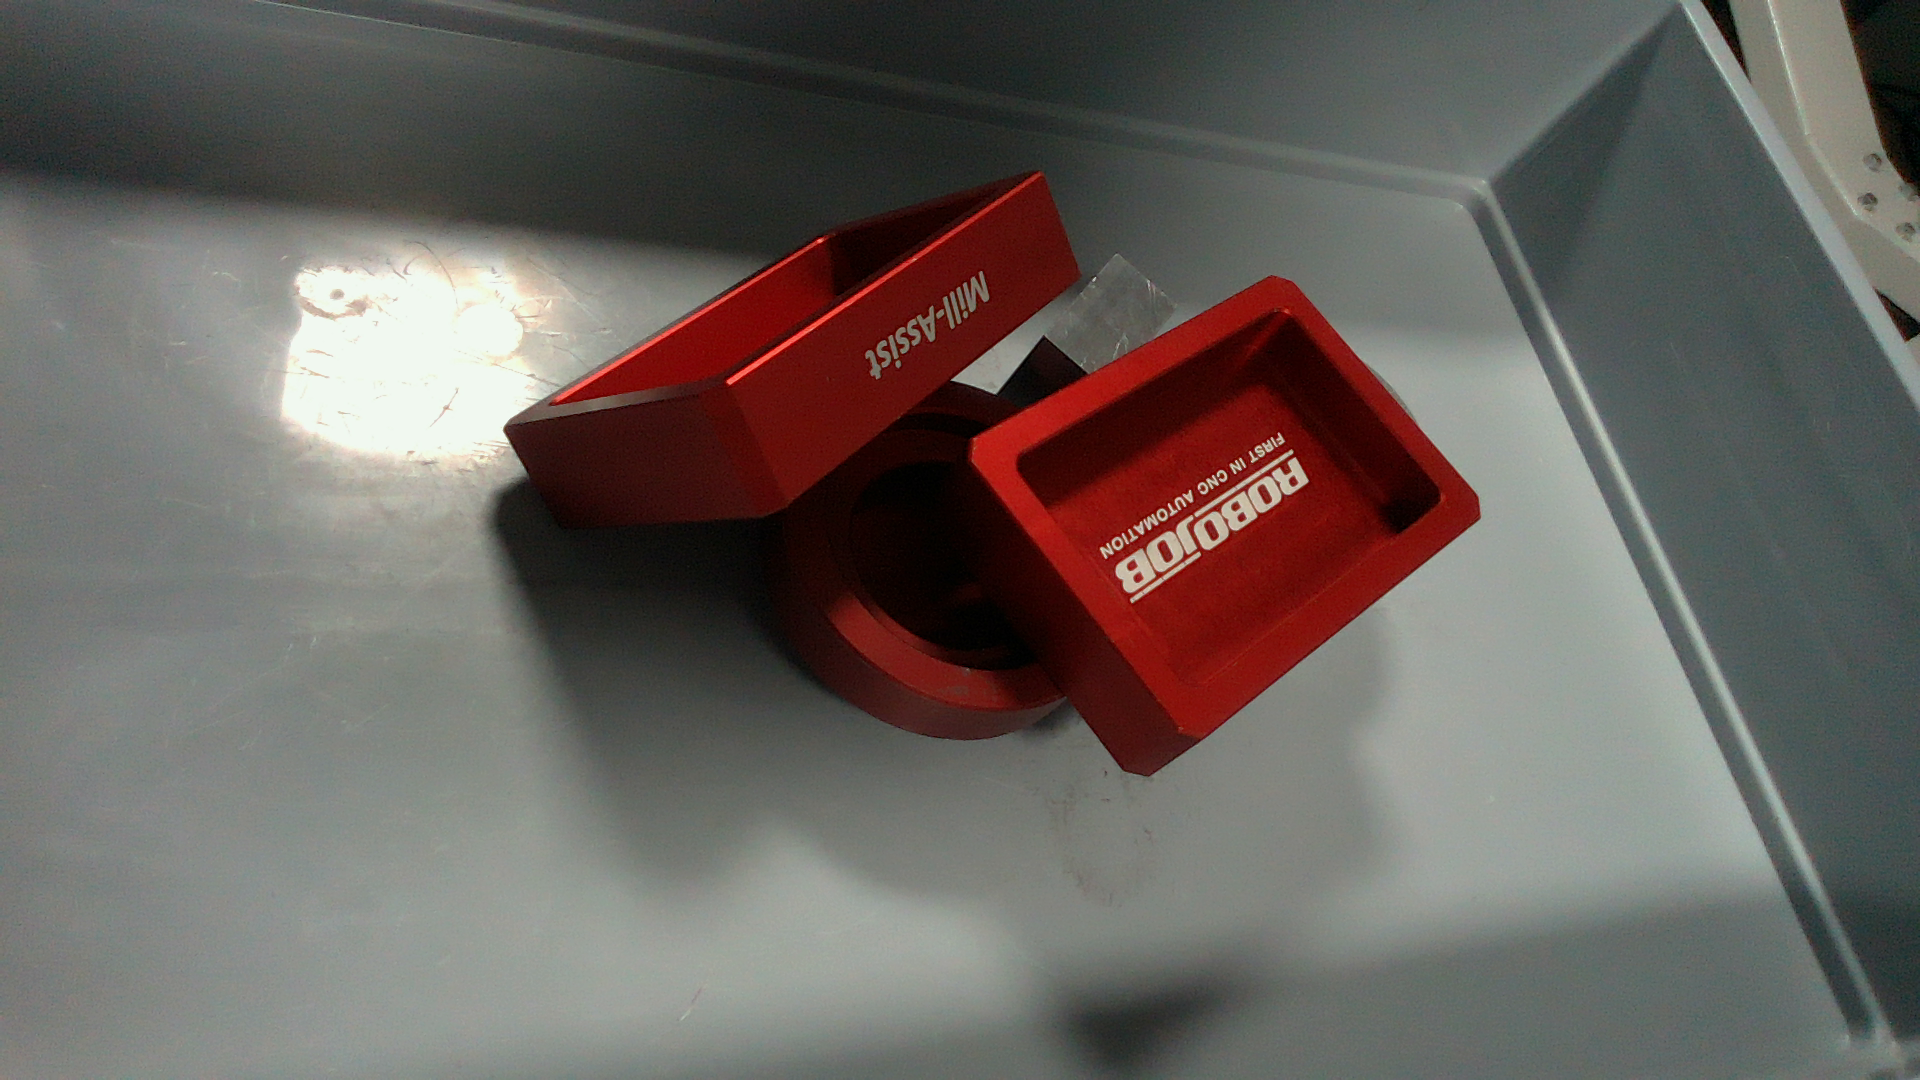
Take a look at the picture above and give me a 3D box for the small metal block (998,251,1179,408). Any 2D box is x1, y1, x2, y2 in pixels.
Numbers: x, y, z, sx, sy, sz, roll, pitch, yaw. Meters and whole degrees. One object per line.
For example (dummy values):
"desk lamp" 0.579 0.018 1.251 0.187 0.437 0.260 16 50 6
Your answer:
"small metal block" 0.035 -0.053 0.422 0.025 0.050 0.050 40 49 -1

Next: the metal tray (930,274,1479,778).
"metal tray" 0.068 -0.009 0.366 0.130 0.030 0.090 -31 78 -33

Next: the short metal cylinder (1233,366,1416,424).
"short metal cylinder" 0.102 -0.020 0.439 0.080 0.050 0.080 14 56 -21

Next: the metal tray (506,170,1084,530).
"metal tray" -0.039 -0.050 0.354 0.130 0.090 0.030 -43 118 -39

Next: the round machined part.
"round machined part" -0.008 0.009 0.369 0.098 0.042 0.098 14 56 -21
